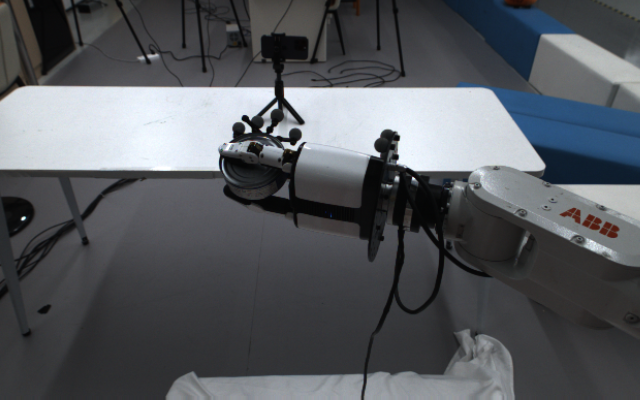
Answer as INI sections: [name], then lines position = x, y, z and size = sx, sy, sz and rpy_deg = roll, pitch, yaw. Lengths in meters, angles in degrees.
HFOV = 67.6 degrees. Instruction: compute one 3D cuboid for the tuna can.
[tuna can]
position = -0.084, -0.045, 0.622
size = 0.085, 0.034, 0.085
rpy_deg = -2, 58, 4
